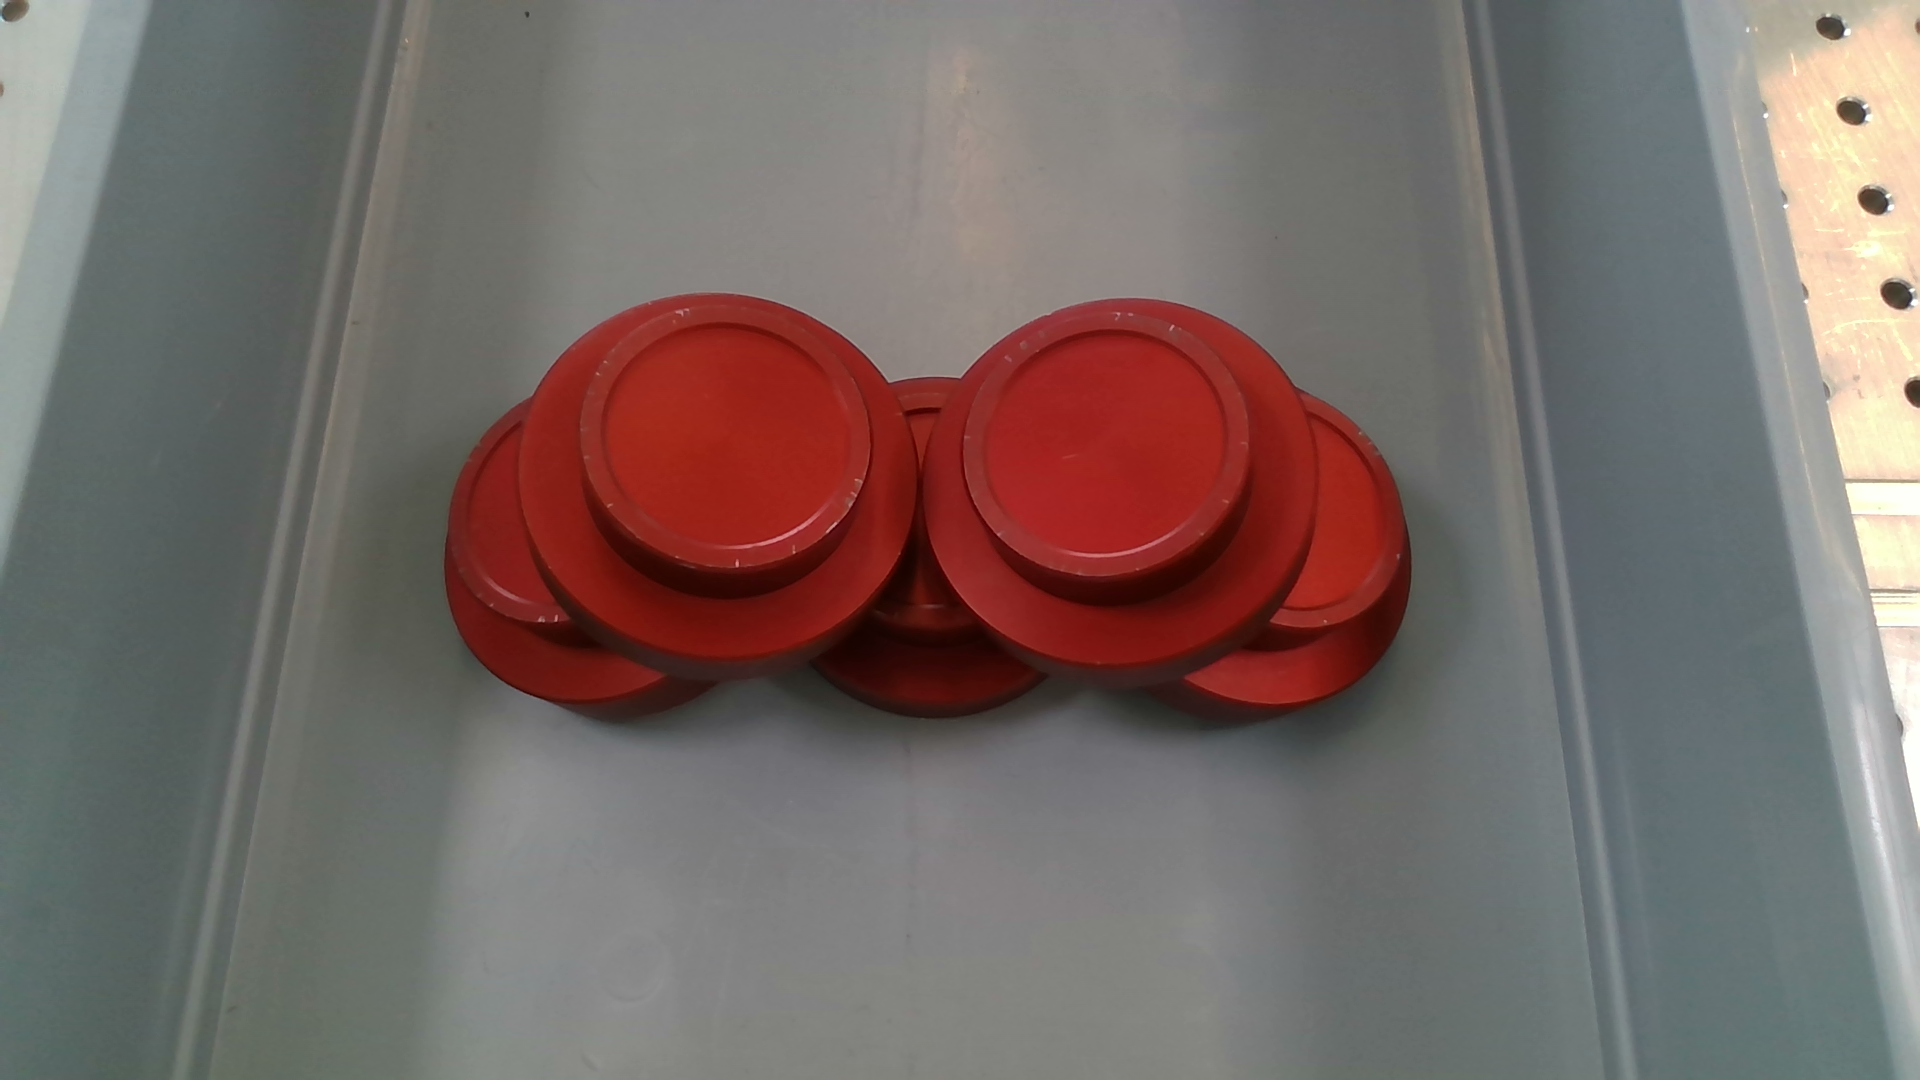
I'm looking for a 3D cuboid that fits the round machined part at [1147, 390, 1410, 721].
[{"bbox_3d":[0.080,-0.003,0.375,0.098,0.042,0.098,5,70,-15],"label":"round machined part"}]

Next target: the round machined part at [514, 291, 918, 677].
[{"bbox_3d":[-0.058,-0.018,0.338,0.098,0.042,0.098,4,70,-11],"label":"round machined part"}]

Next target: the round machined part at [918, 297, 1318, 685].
[{"bbox_3d":[0.037,-0.017,0.337,0.098,0.042,0.098,-4,70,12],"label":"round machined part"}]

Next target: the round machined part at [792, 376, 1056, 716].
[{"bbox_3d":[-0.007,-0.002,0.386,0.098,0.042,0.098,0,70,-1],"label":"round machined part"}]

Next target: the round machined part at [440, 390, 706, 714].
[{"bbox_3d":[-0.098,-0.005,0.373,0.098,0.042,0.098,-5,70,14],"label":"round machined part"}]
